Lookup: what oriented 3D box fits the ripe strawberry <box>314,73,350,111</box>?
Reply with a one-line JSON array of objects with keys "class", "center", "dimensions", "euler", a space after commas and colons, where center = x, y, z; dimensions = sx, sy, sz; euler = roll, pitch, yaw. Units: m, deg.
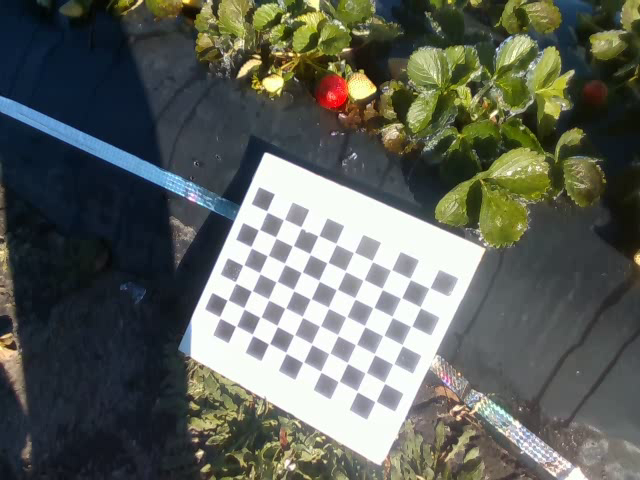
[{"class": "ripe strawberry", "center": [0.011, -0.159, 0.651], "dimensions": [0.040, 0.042, 0.053], "euler": [-12, 22, 10]}]
